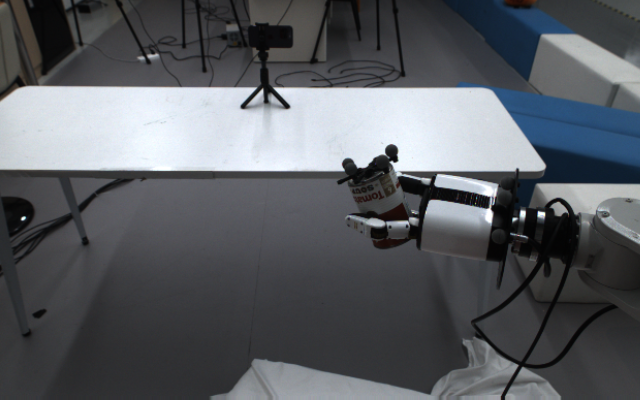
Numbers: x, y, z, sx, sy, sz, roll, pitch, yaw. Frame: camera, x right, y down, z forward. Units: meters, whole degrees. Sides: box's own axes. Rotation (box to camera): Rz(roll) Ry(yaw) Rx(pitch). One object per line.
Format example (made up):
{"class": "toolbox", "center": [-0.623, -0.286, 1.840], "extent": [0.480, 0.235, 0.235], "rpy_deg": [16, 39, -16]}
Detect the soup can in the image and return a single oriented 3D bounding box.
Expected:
{"class": "soup can", "center": [0.089, 0.007, 0.671], "extent": [0.067, 0.101, 0.067], "rpy_deg": [-23, 16, 7]}
